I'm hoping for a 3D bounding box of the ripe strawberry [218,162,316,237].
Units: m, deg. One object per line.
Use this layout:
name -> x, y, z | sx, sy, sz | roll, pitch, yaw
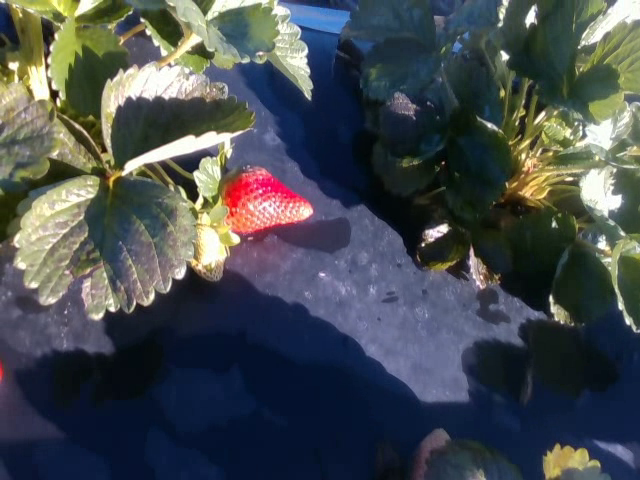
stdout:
ripe strawberry -> -0.032, -0.022, 0.359 | 0.064, 0.050, 0.052 | 10, 4, -8
